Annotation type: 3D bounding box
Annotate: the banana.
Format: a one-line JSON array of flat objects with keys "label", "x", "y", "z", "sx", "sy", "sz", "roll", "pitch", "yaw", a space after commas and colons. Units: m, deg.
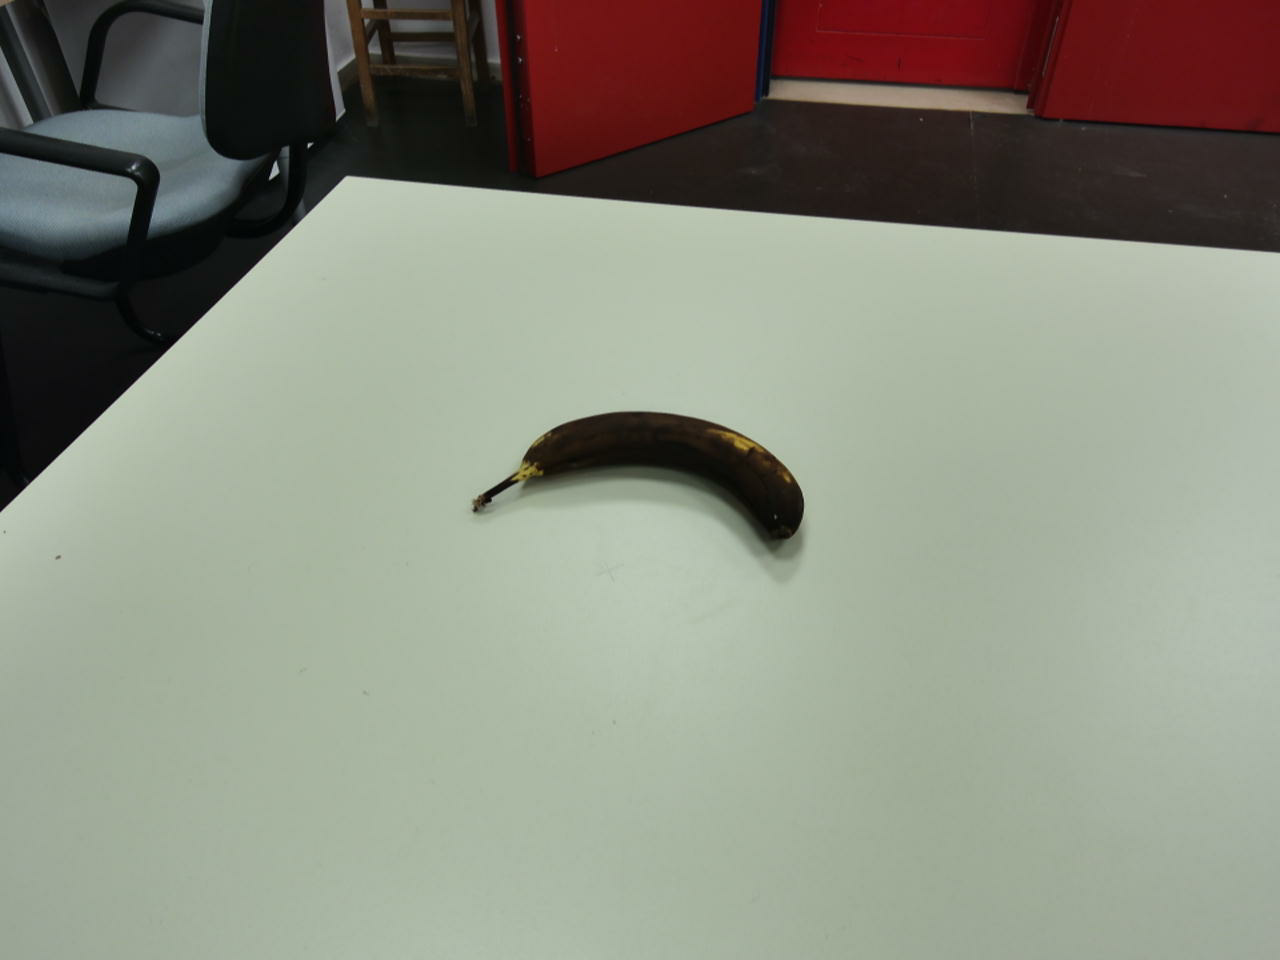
[{"label": "banana", "x": 0.004, "y": -0.009, "z": 0.585, "sx": 0.188, "sy": 0.034, "sz": 0.091, "roll": 8, "pitch": 40, "yaw": 11}]
